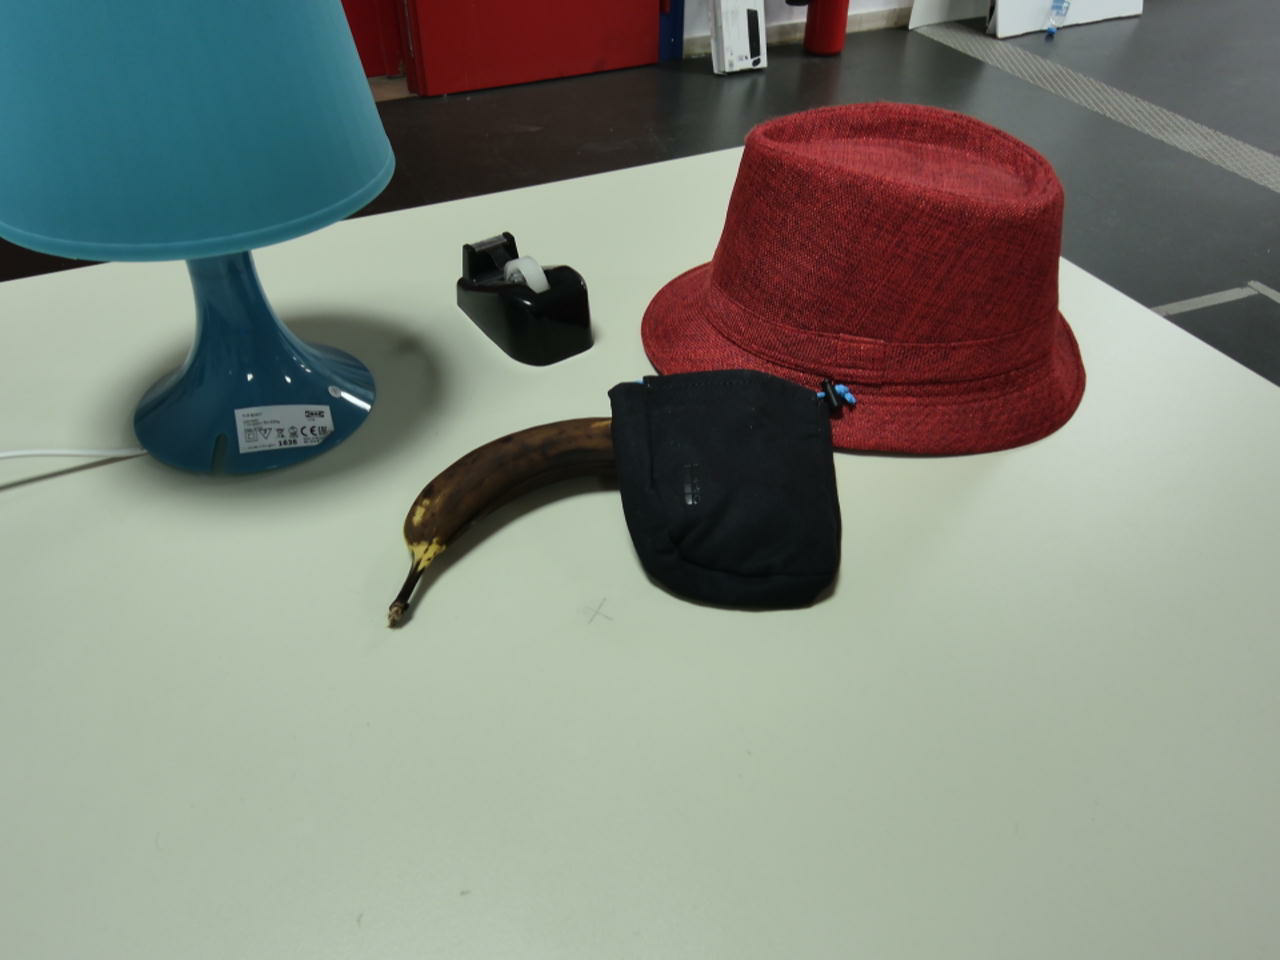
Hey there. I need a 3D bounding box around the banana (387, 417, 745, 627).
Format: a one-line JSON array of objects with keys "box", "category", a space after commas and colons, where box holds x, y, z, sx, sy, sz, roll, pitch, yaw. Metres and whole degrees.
[{"box": [-0.045, 0.004, 0.505, 0.188, 0.034, 0.091, -15, 41, -19], "category": "banana"}]
